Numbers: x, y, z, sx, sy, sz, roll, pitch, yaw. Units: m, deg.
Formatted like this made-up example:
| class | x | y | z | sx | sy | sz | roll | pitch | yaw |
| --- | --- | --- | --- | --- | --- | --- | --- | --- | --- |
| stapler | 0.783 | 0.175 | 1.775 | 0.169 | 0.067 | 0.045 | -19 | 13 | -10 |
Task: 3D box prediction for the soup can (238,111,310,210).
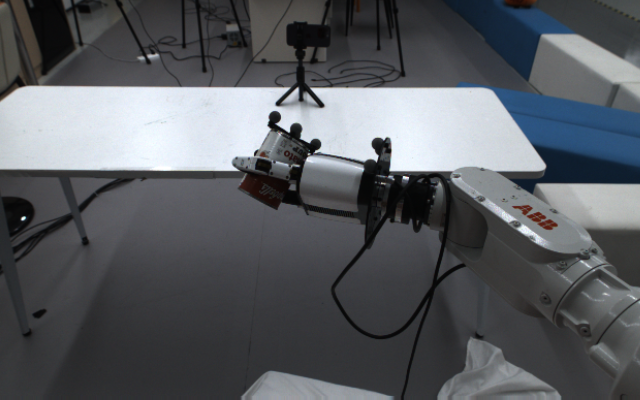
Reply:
| class | x | y | z | sx | sy | sz | roll | pitch | yaw |
| --- | --- | --- | --- | --- | --- | --- | --- | --- | --- |
| soup can | -0.068 | -0.045 | 0.712 | 0.067 | 0.101 | 0.067 | 29 | -3 | 1 |
